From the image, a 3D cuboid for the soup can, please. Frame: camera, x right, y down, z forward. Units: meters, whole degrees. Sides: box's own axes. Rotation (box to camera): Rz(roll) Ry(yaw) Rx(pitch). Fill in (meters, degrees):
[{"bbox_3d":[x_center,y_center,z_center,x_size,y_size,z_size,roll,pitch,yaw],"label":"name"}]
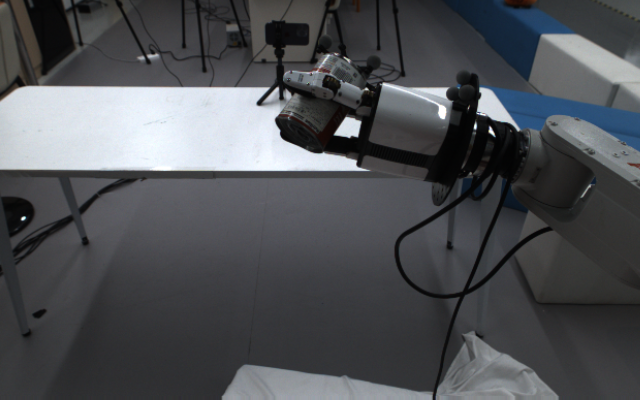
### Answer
[{"bbox_3d":[0.001,-0.118,0.582,0.067,0.067,0.101,26,76,31],"label":"soup can"}]
